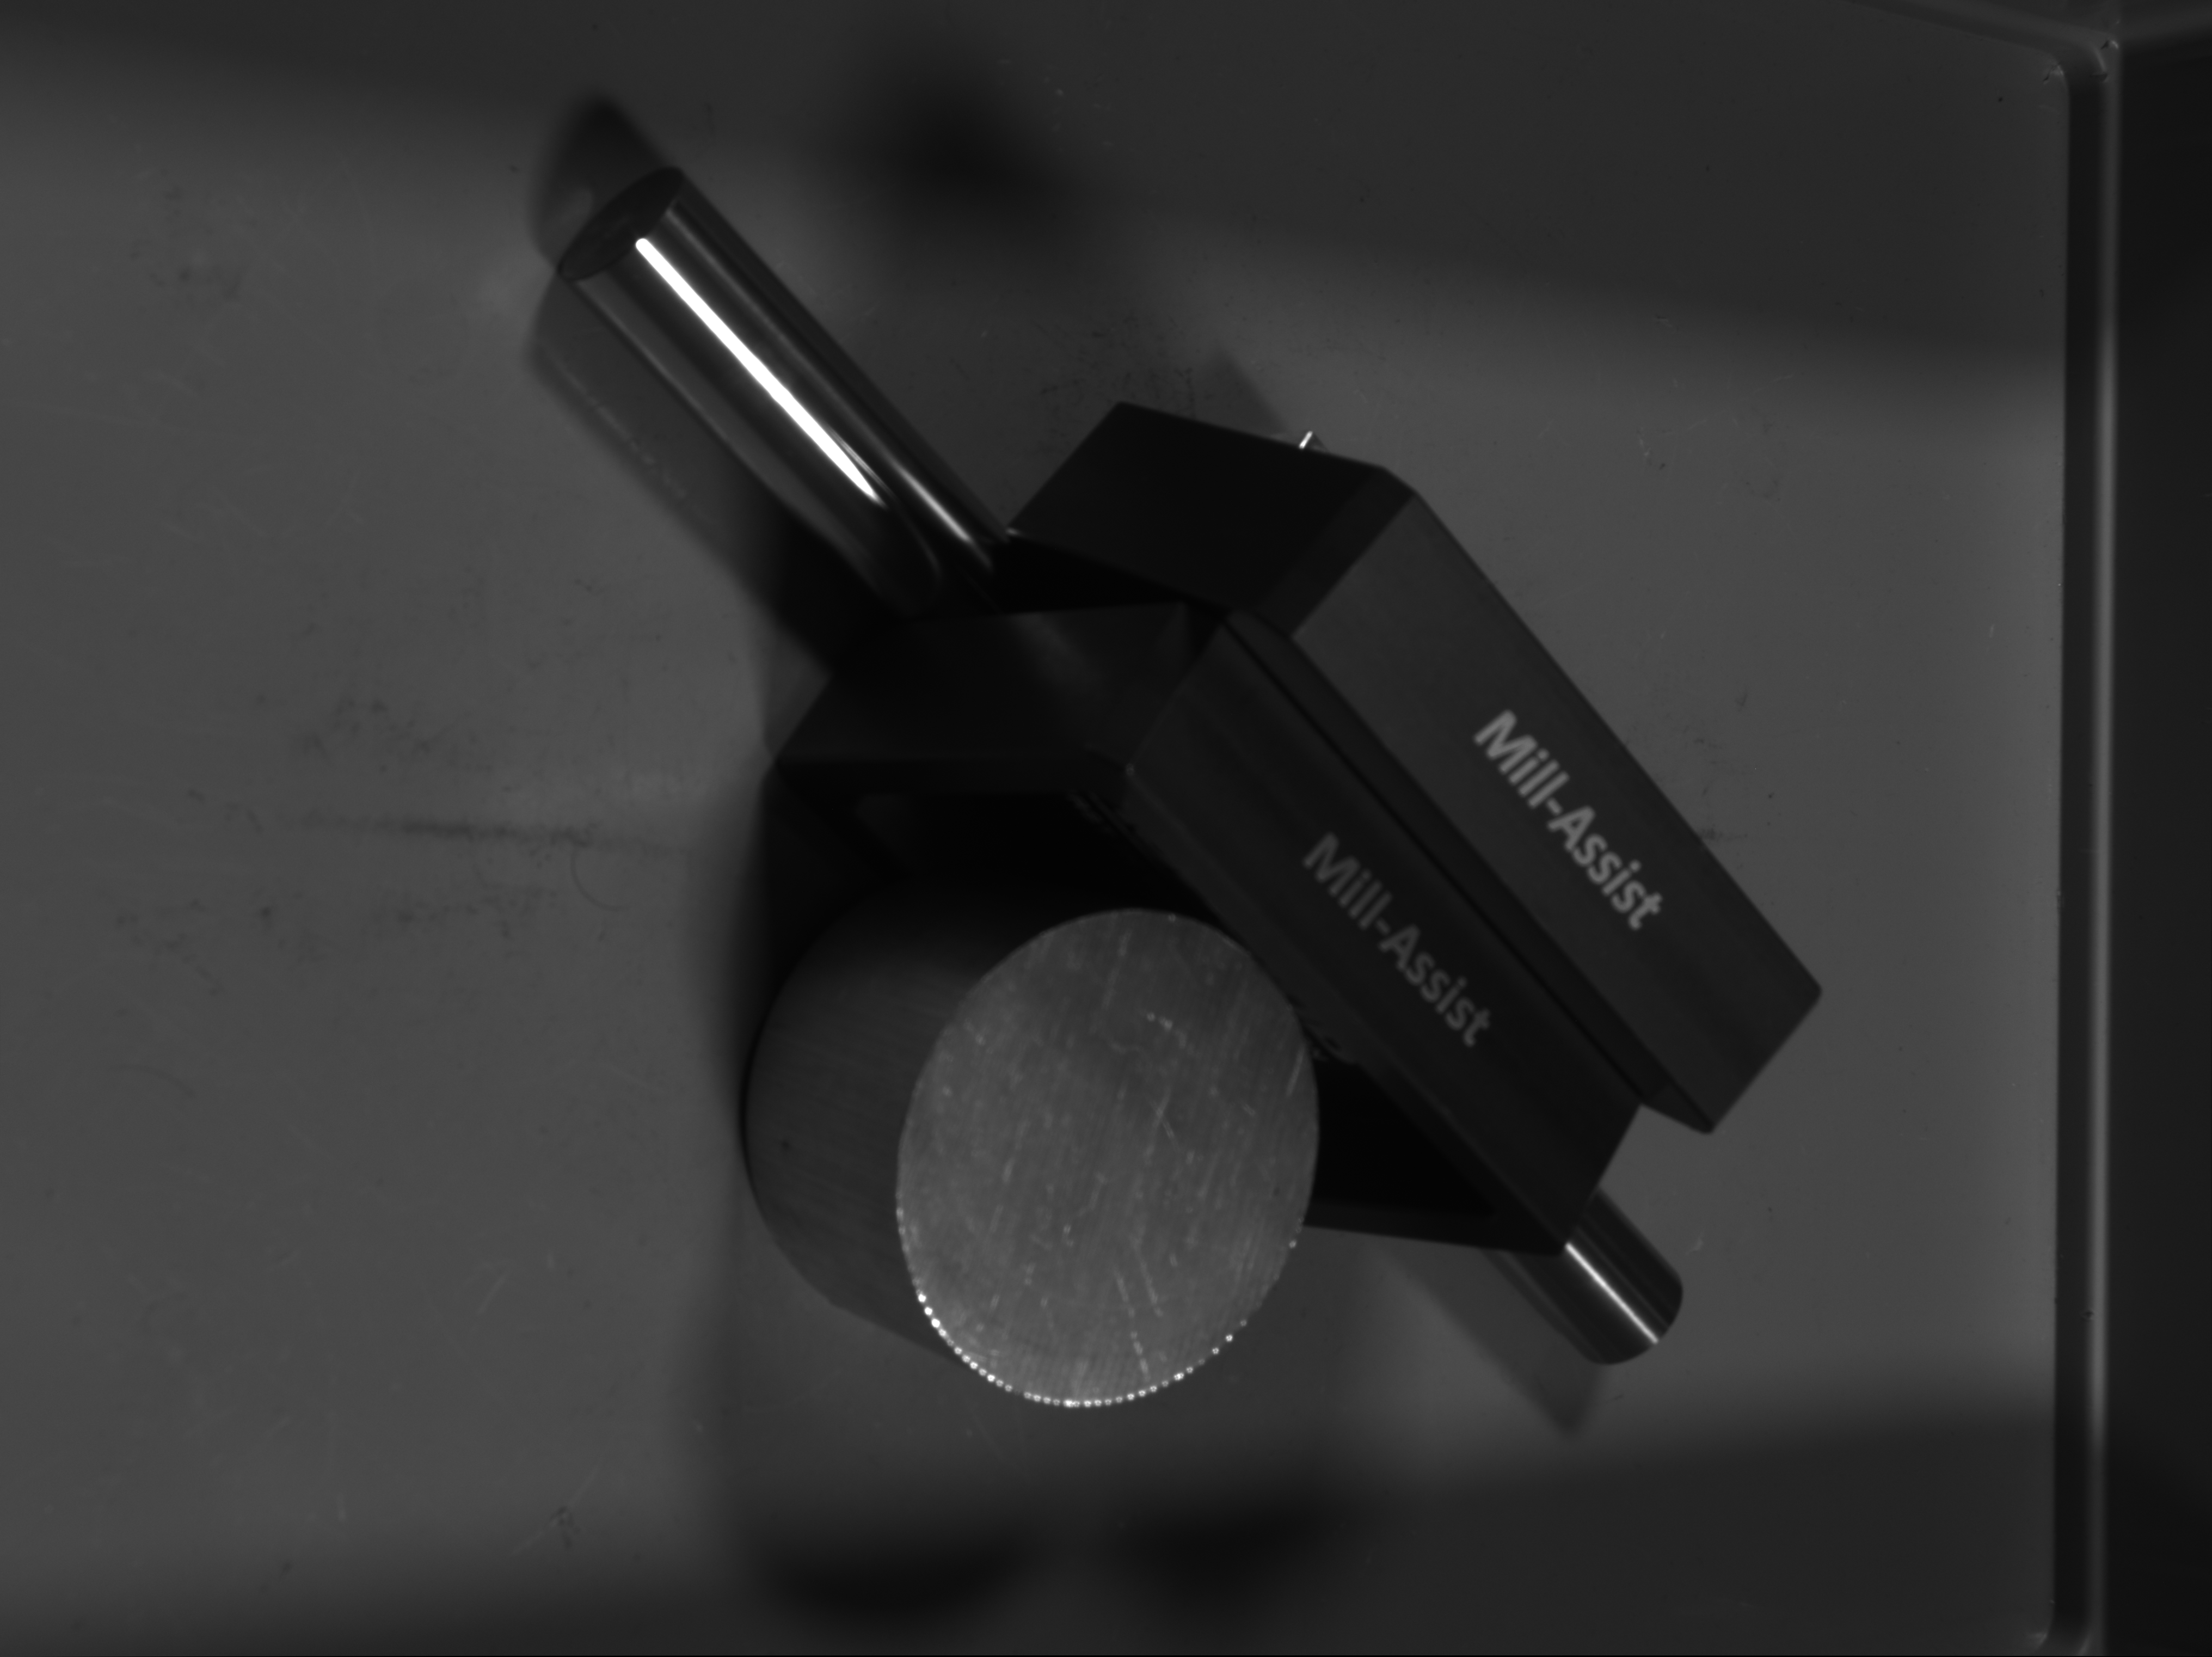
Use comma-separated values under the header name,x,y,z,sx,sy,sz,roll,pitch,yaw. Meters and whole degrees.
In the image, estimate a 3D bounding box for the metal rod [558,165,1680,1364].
name,x,y,z,sx,sy,sz,roll,pitch,yaw
metal rod,0.013,0.000,0.648,0.301,0.025,0.025,47,62,-30

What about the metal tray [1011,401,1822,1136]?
name,x,y,z,sx,sy,sz,roll,pitch,yaw
metal tray,0.051,-0.010,0.603,0.030,0.090,0.130,-49,120,-9

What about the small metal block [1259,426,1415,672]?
name,x,y,z,sx,sy,sz,roll,pitch,yaw
small metal block,0.030,-0.036,0.661,0.050,0.025,0.050,48,61,-29

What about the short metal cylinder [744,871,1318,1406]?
name,x,y,z,sx,sy,sz,roll,pitch,yaw
short metal cylinder,-0.012,0.050,0.602,0.080,0.050,0.080,-6,100,-34

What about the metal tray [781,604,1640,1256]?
name,x,y,z,sx,sy,sz,roll,pitch,yaw
metal tray,0.018,0.018,0.609,0.130,0.090,0.030,47,62,-30
